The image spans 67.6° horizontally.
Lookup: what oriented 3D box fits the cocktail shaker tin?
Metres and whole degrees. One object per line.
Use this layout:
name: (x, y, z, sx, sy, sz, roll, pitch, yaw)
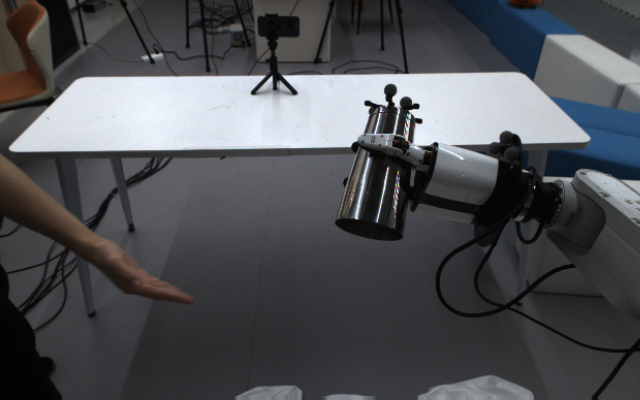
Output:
cocktail shaker tin: (0.084, -0.038, 0.663, 0.093, 0.093, 0.170, 11, 74, 12)
